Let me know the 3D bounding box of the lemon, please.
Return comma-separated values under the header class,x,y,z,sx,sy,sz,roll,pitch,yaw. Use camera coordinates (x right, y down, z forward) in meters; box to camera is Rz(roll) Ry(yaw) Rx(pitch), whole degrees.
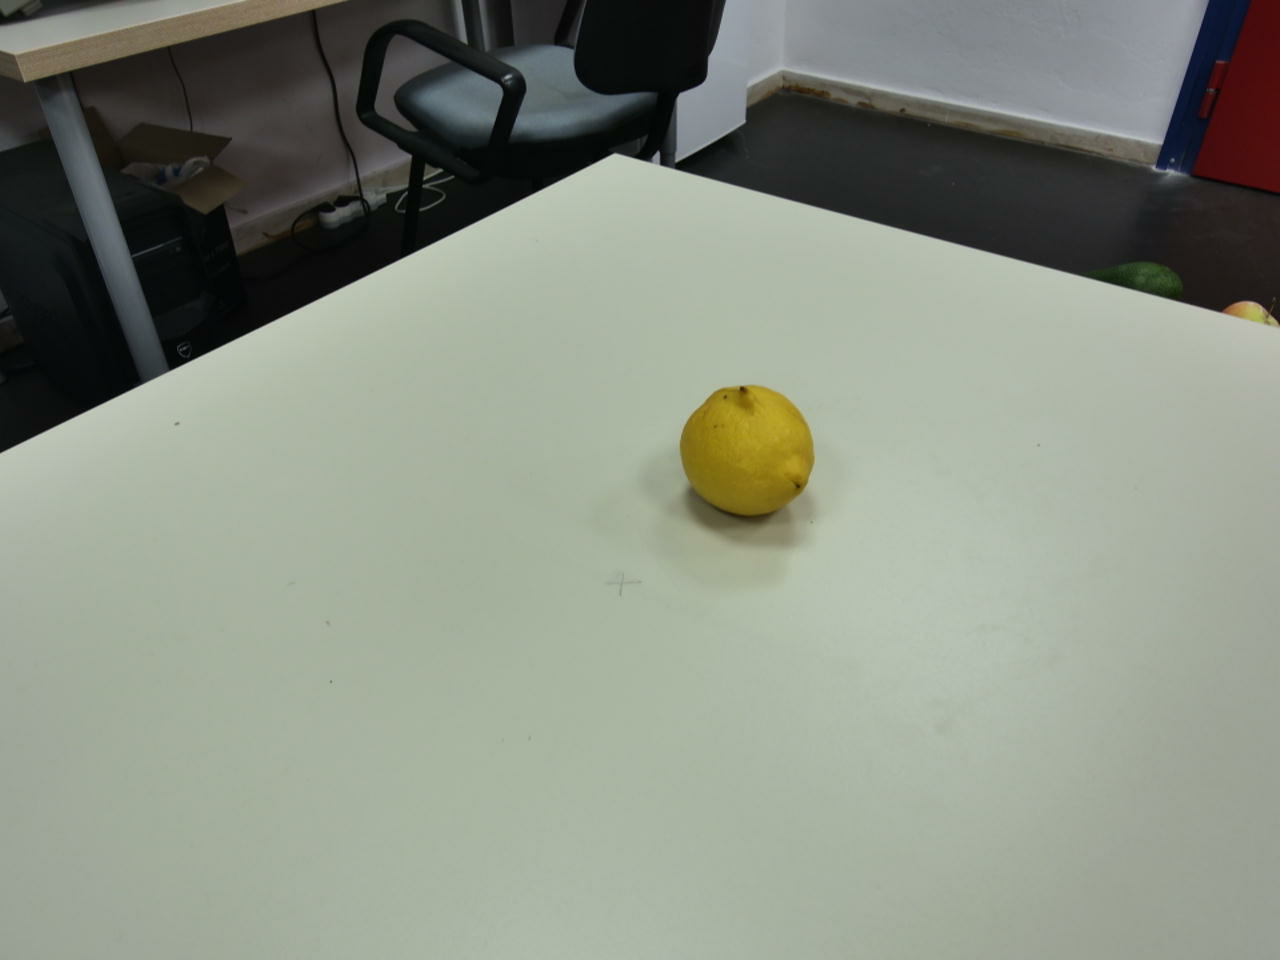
class,x,y,z,sx,sy,sz,roll,pitch,yaw
lemon,0.056,-0.019,0.528,0.070,0.071,0.071,3,37,3
